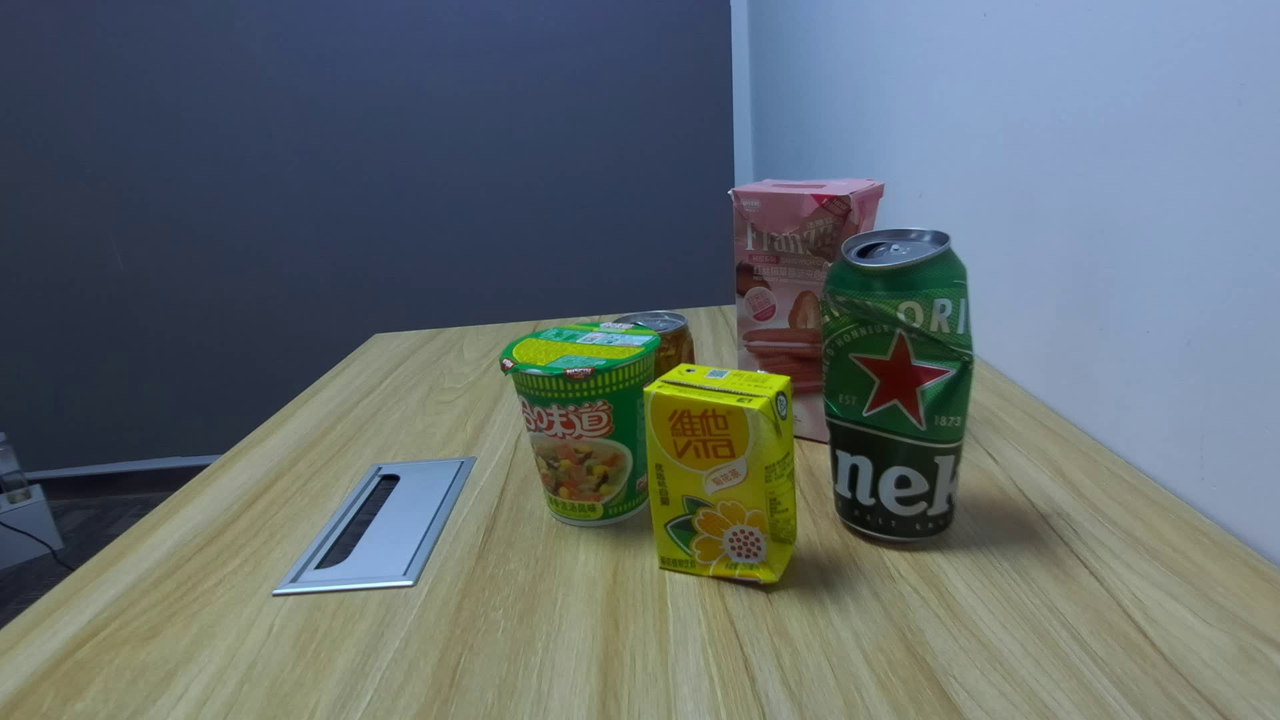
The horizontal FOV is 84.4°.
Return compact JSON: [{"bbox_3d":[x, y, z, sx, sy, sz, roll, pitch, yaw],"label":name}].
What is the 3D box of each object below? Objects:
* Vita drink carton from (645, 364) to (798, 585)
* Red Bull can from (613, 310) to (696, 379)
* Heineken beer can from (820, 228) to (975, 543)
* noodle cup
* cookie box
[{"bbox_3d":[0.046,0.062,0.370,0.076,0.109,0.043,7,23,32],"label":"Vita drink carton"},{"bbox_3d":[0.009,0.013,0.548,0.068,0.093,0.068,-2,16,1],"label":"Red Bull can"},{"bbox_3d":[0.139,0.018,0.386,0.069,0.168,0.068,-7,21,1],"label":"Heineken beer can"},{"bbox_3d":[-0.032,0.041,0.451,0.097,0.110,0.097,-5,20,2],"label":"noodle cup"},{"bbox_3d":[0.120,-0.035,0.518,0.104,0.186,0.059,12,27,37],"label":"cookie box"}]
